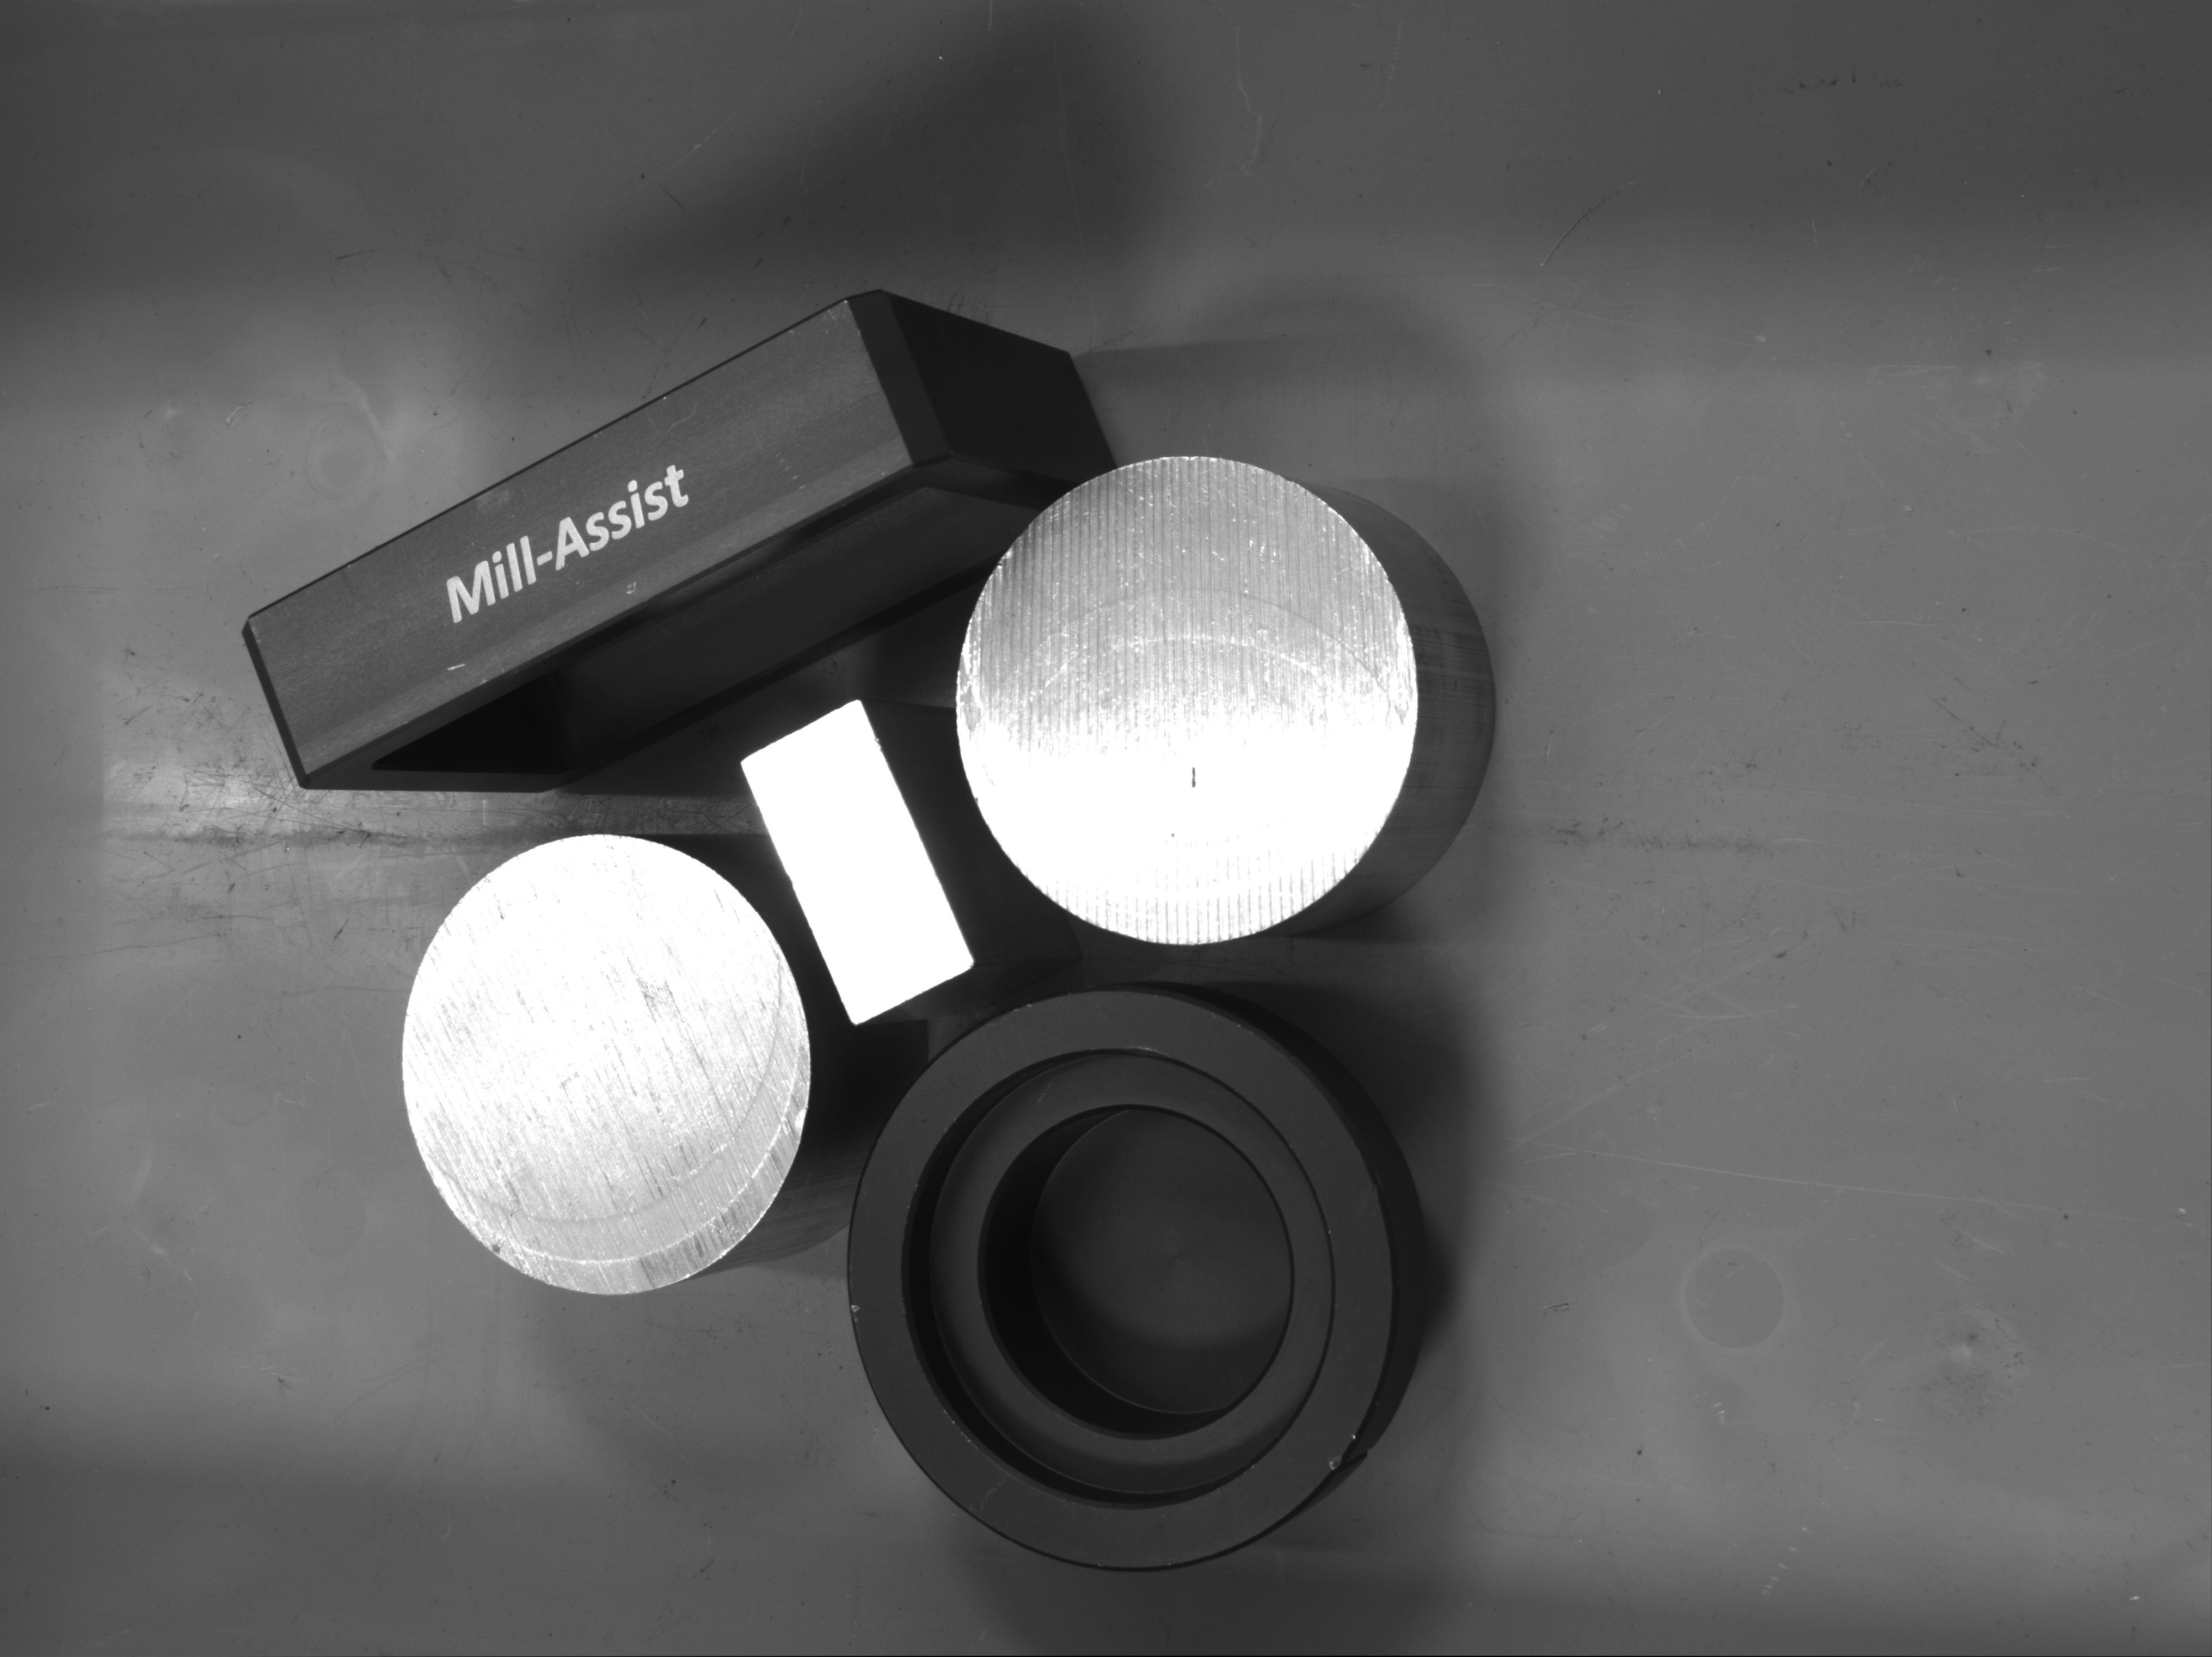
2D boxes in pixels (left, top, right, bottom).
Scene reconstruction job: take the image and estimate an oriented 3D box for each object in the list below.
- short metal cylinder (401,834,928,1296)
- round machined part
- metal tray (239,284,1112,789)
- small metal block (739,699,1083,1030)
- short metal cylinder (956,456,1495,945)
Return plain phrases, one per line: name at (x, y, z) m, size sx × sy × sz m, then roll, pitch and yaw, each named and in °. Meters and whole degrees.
short metal cylinder at (-0.079, 0.041, 0.661) m, size 0.080 × 0.050 × 0.080 m, roll 0°, pitch 90°, yaw 20°
round machined part at (0.009, 0.075, 0.633) m, size 0.098 × 0.042 × 0.098 m, roll 0°, pitch 90°, yaw 20°
metal tray at (-0.072, -0.047, 0.636) m, size 0.130 × 0.090 × 0.030 m, roll -25°, pitch 81°, yaw 19°
small metal block at (-0.033, 0.006, 0.644) m, size 0.025 × 0.050 × 0.050 m, roll -27°, pitch 81°, yaw 18°
short metal cylinder at (0.021, -0.021, 0.624) m, size 0.080 × 0.050 × 0.080 m, roll 0°, pitch 90°, yaw 20°
